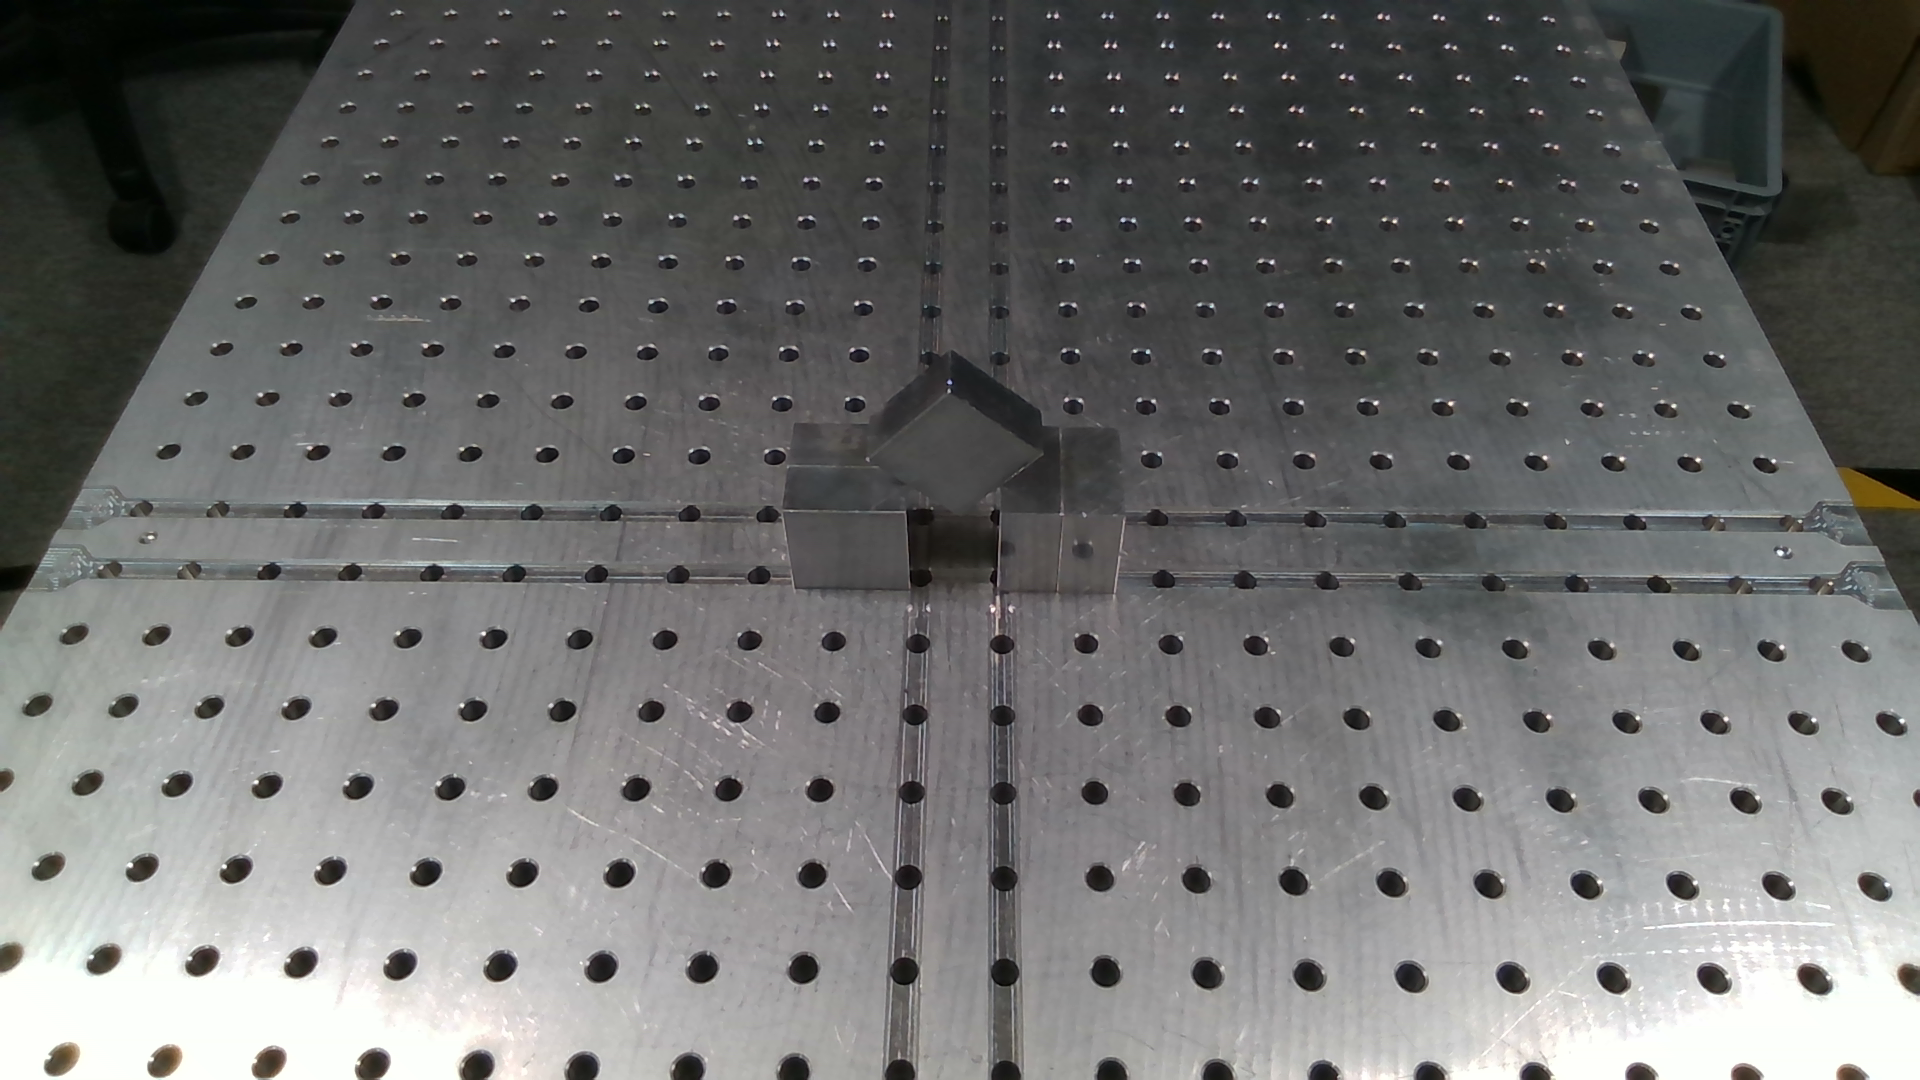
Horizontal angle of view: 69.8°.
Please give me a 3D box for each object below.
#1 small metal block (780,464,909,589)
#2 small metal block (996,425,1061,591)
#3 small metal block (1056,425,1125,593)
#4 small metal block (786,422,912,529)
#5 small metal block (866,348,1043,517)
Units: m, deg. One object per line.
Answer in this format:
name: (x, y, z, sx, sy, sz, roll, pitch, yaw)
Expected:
small metal block: (-0.046, -0.005, 0.577, 0.050, 0.050, 0.025, 1, 50, 1)
small metal block: (0.029, -0.014, 0.584, 0.025, 0.050, 0.050, 1, 50, 1)
small metal block: (0.054, -0.013, 0.584, 0.025, 0.050, 0.050, 1, 50, 1)
small metal block: (-0.046, -0.024, 0.593, 0.050, 0.050, 0.025, 1, 50, 1)
small metal block: (-0.002, -0.042, 0.555, 0.050, 0.050, 0.025, 31, 41, -31)
